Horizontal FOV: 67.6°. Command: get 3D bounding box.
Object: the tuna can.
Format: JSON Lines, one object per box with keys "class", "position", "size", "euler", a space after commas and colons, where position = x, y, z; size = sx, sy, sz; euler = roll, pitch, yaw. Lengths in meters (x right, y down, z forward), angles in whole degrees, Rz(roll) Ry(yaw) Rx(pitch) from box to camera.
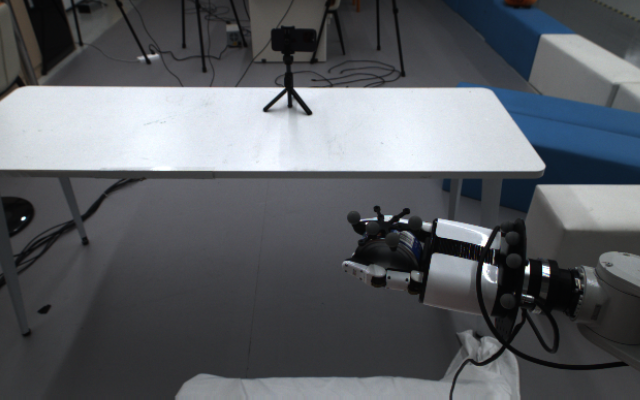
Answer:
{"class": "tuna can", "position": [0.093, 0.071, 0.639], "size": [0.085, 0.085, 0.034], "euler": [14, 41, 16]}
